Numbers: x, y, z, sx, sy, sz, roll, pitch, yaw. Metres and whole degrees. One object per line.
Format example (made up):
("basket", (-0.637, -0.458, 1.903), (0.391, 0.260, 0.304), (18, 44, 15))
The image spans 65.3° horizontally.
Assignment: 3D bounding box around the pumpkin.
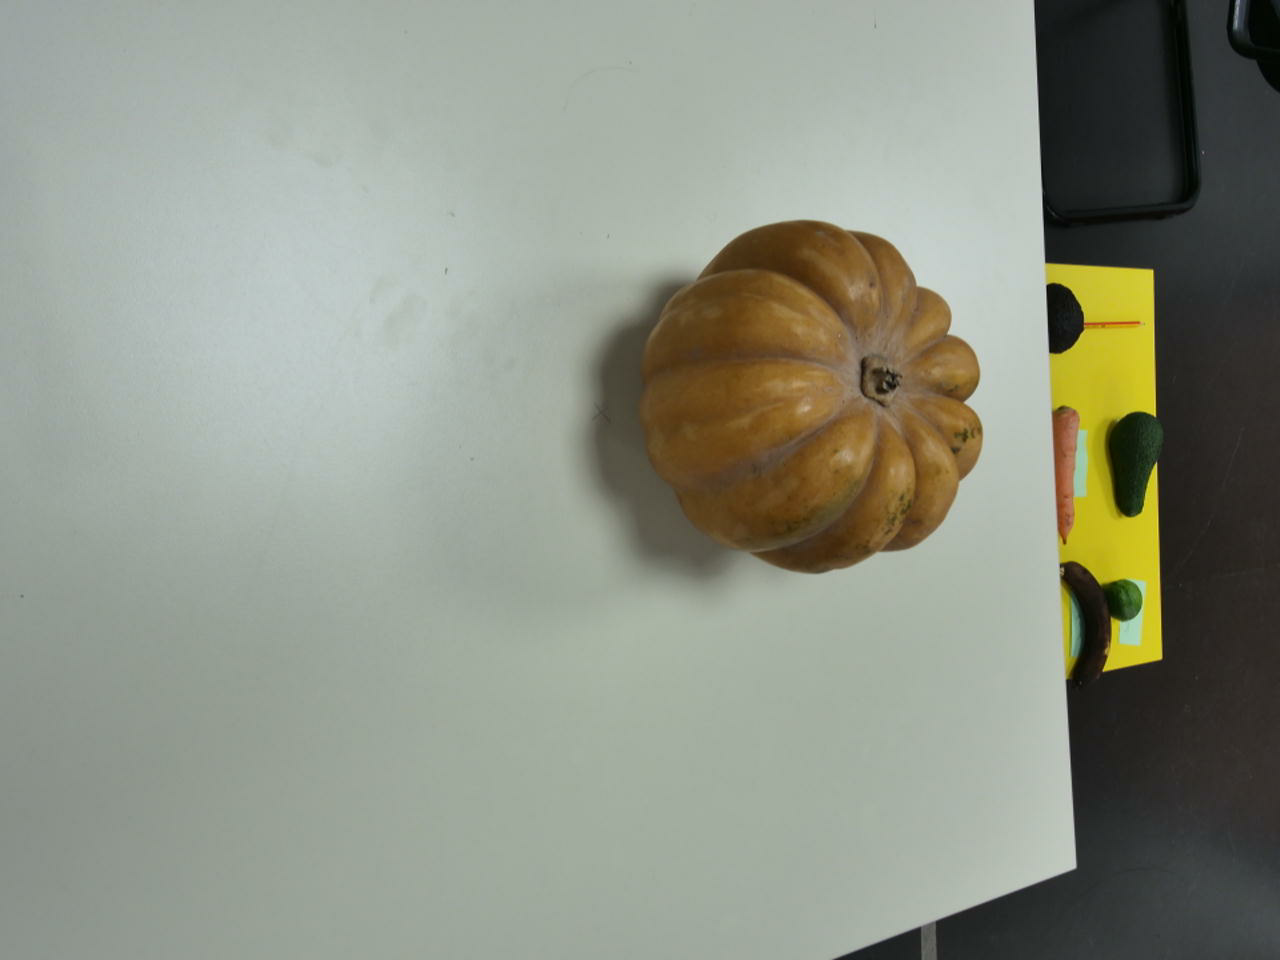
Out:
("pumpkin", (0.108, -0.051, 0.657), (0.230, 0.194, 0.230), (0, 91, -28))
